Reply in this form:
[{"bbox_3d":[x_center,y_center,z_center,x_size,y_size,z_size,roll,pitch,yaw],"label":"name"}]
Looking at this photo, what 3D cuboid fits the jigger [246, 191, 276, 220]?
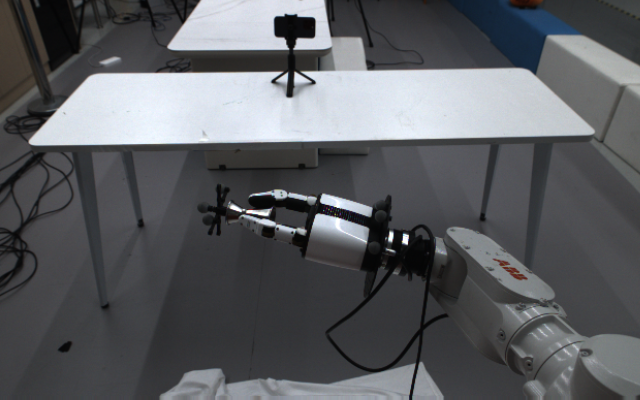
[{"bbox_3d":[-0.098,0.019,0.744,0.071,0.043,0.043,8,35,6],"label":"jigger"}]
